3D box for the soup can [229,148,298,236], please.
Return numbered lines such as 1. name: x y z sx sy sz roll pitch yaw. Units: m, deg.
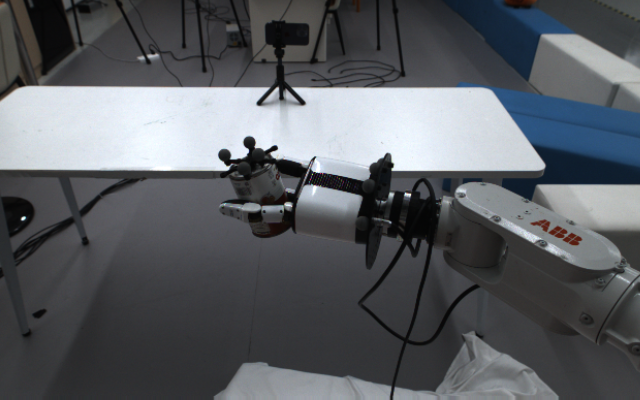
1. soup can: -0.080 -0.006 0.684 0.067 0.101 0.067 -14 31 8
